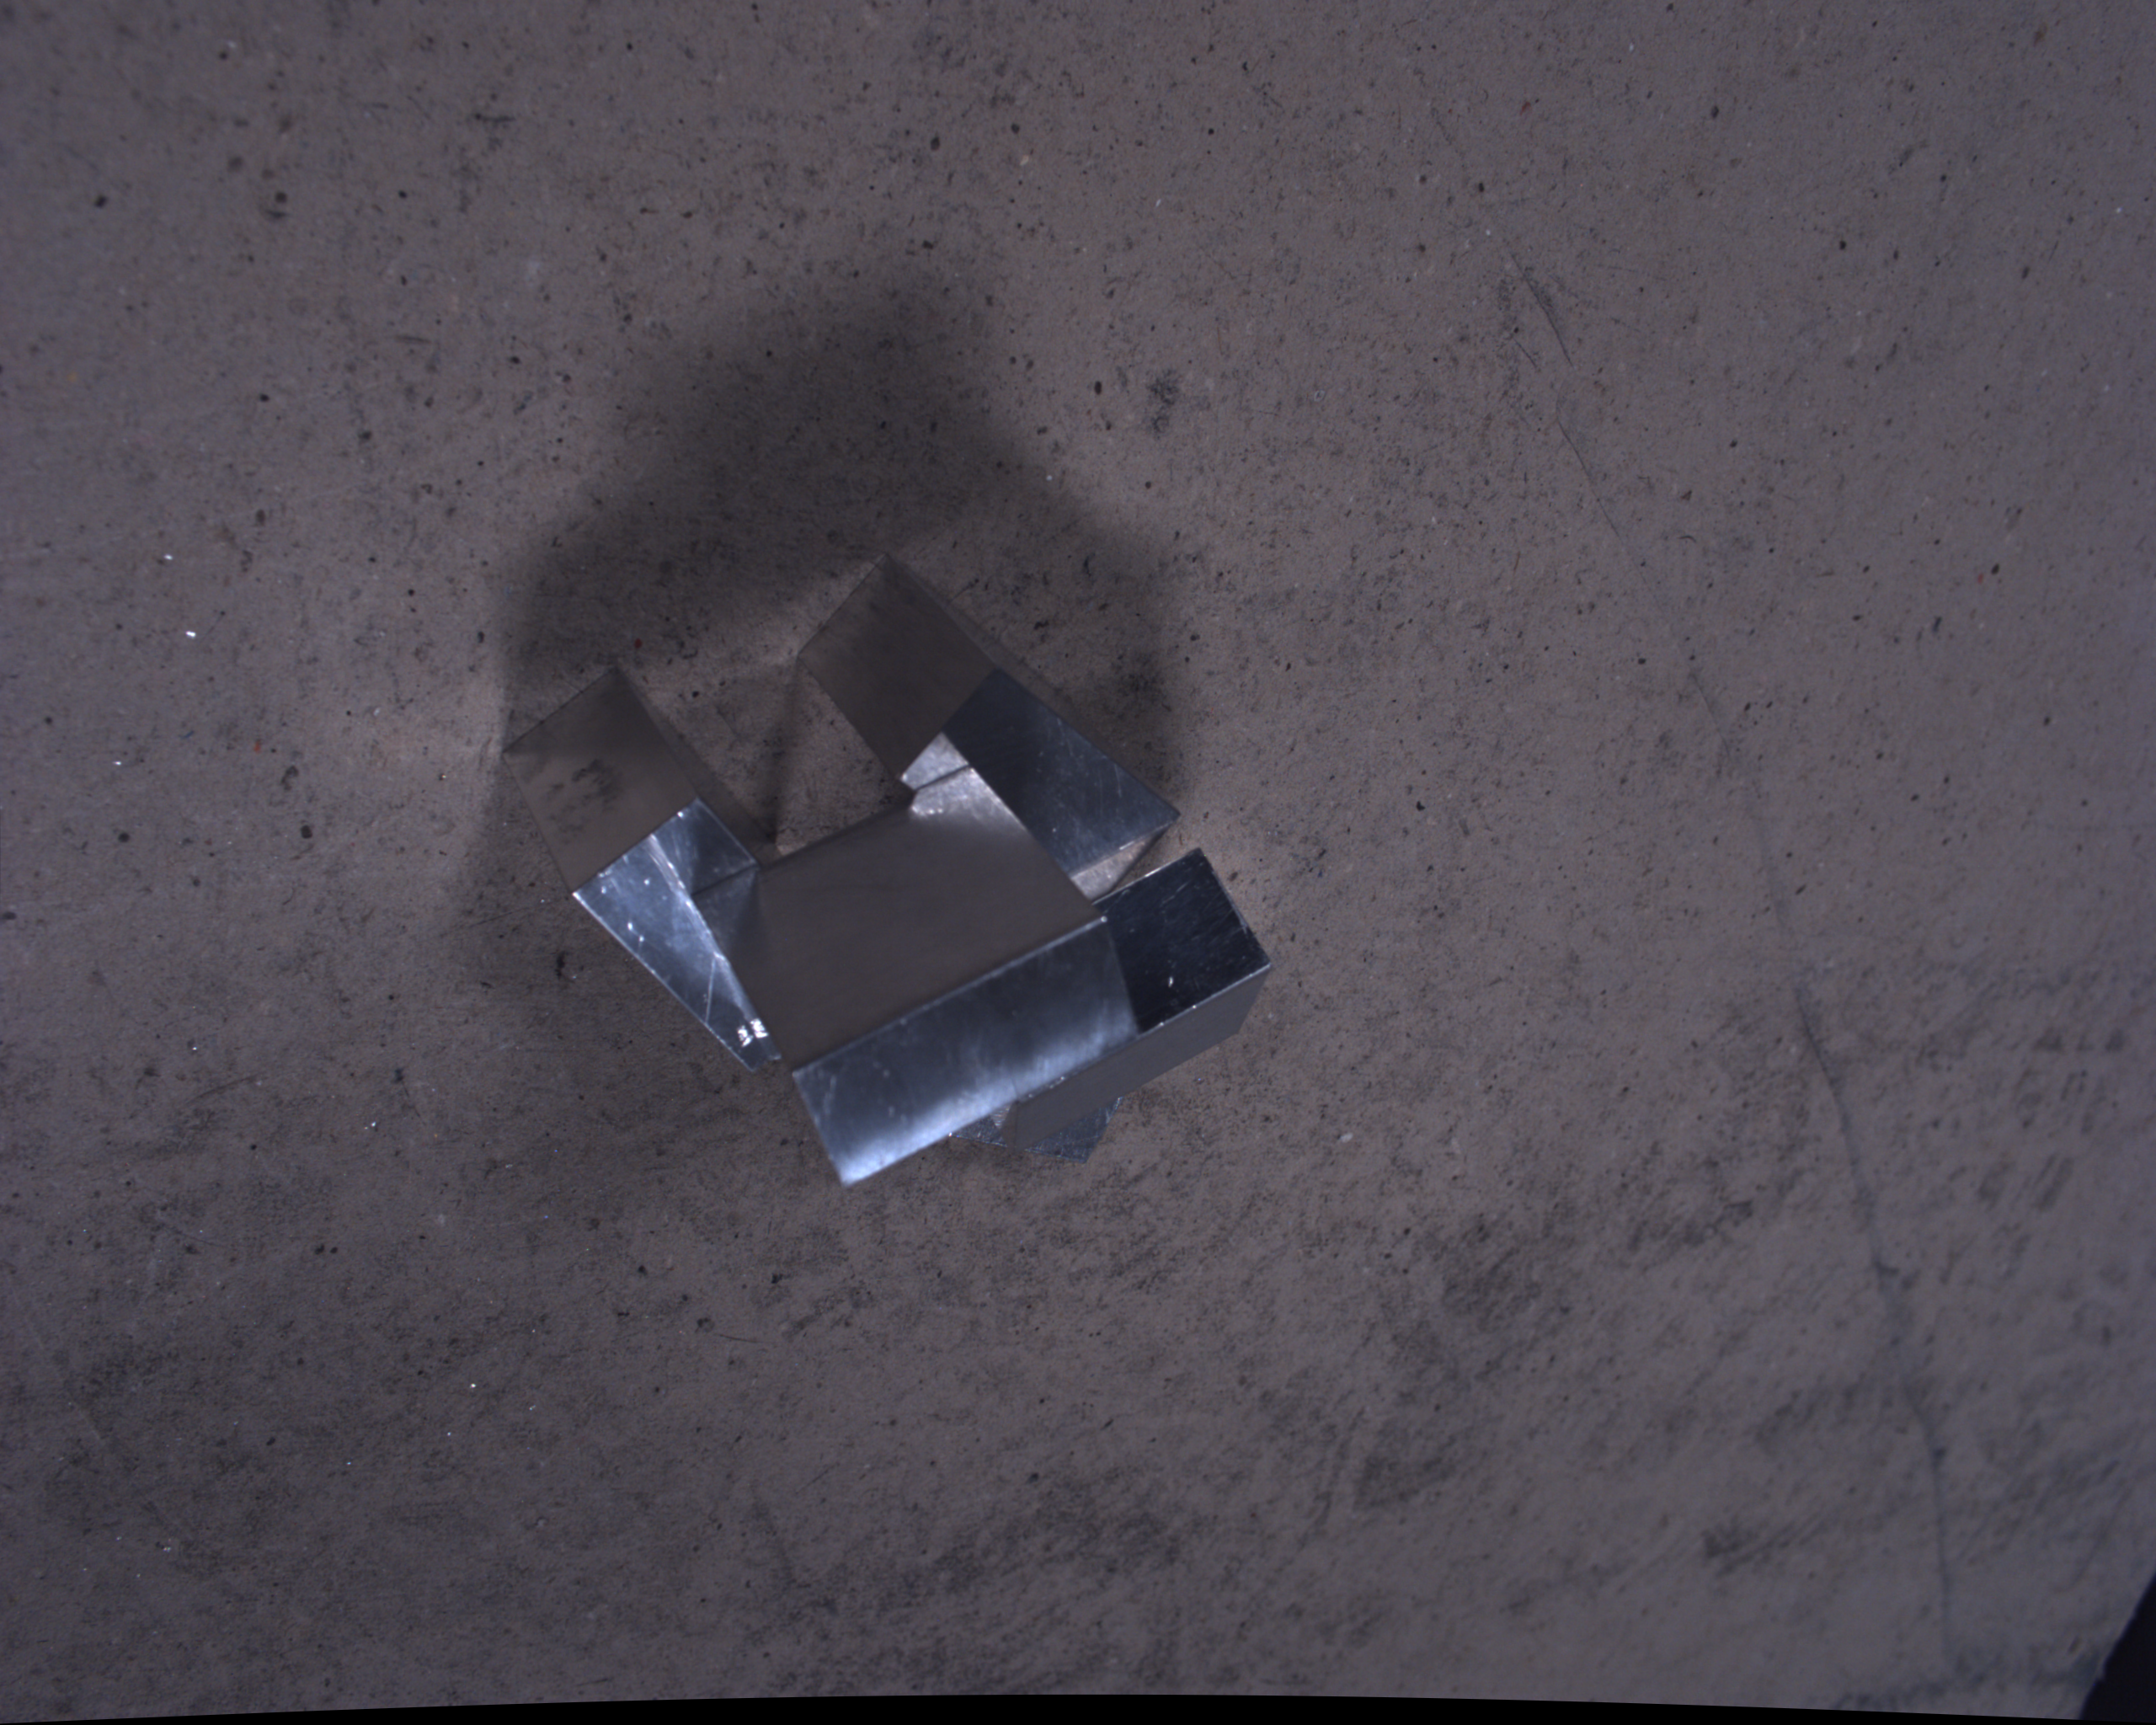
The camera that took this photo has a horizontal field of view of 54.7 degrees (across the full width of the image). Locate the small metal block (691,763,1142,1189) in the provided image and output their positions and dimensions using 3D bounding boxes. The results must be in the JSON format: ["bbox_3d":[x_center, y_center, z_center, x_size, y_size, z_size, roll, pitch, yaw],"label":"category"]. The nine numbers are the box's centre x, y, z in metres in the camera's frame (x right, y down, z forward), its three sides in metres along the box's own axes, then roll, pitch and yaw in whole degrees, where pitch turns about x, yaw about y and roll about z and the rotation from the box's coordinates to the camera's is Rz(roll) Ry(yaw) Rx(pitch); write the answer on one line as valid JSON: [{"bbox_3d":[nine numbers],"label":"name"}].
[{"bbox_3d":[-0.026,0.016,0.324,0.050,0.050,0.025,-26,128,-13],"label":"small metal block"}]

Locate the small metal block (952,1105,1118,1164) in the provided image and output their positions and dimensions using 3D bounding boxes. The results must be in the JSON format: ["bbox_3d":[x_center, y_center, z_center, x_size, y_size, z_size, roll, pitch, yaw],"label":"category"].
[{"bbox_3d":[-0.012,0.030,0.422,0.050,0.025,0.050,17,109,-35],"label":"small metal block"}]

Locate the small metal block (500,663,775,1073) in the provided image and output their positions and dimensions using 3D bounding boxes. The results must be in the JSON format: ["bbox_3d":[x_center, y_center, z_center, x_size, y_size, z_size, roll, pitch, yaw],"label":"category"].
[{"bbox_3d":[-0.068,0.001,0.357,0.025,0.050,0.050,-39,130,-3],"label":"small metal block"}]

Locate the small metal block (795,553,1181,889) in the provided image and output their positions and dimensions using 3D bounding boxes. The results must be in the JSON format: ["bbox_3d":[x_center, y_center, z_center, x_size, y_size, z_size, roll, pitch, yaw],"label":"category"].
[{"bbox_3d":[-0.016,-0.023,0.371,0.025,0.050,0.050,-49,129,6],"label":"small metal block"}]

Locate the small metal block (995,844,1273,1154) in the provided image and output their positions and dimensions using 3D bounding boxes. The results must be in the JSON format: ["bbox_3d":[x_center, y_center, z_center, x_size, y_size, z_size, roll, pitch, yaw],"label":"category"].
[{"bbox_3d":[0.004,0.026,0.380,0.050,0.025,0.050,-28,166,-11],"label":"small metal block"}]
